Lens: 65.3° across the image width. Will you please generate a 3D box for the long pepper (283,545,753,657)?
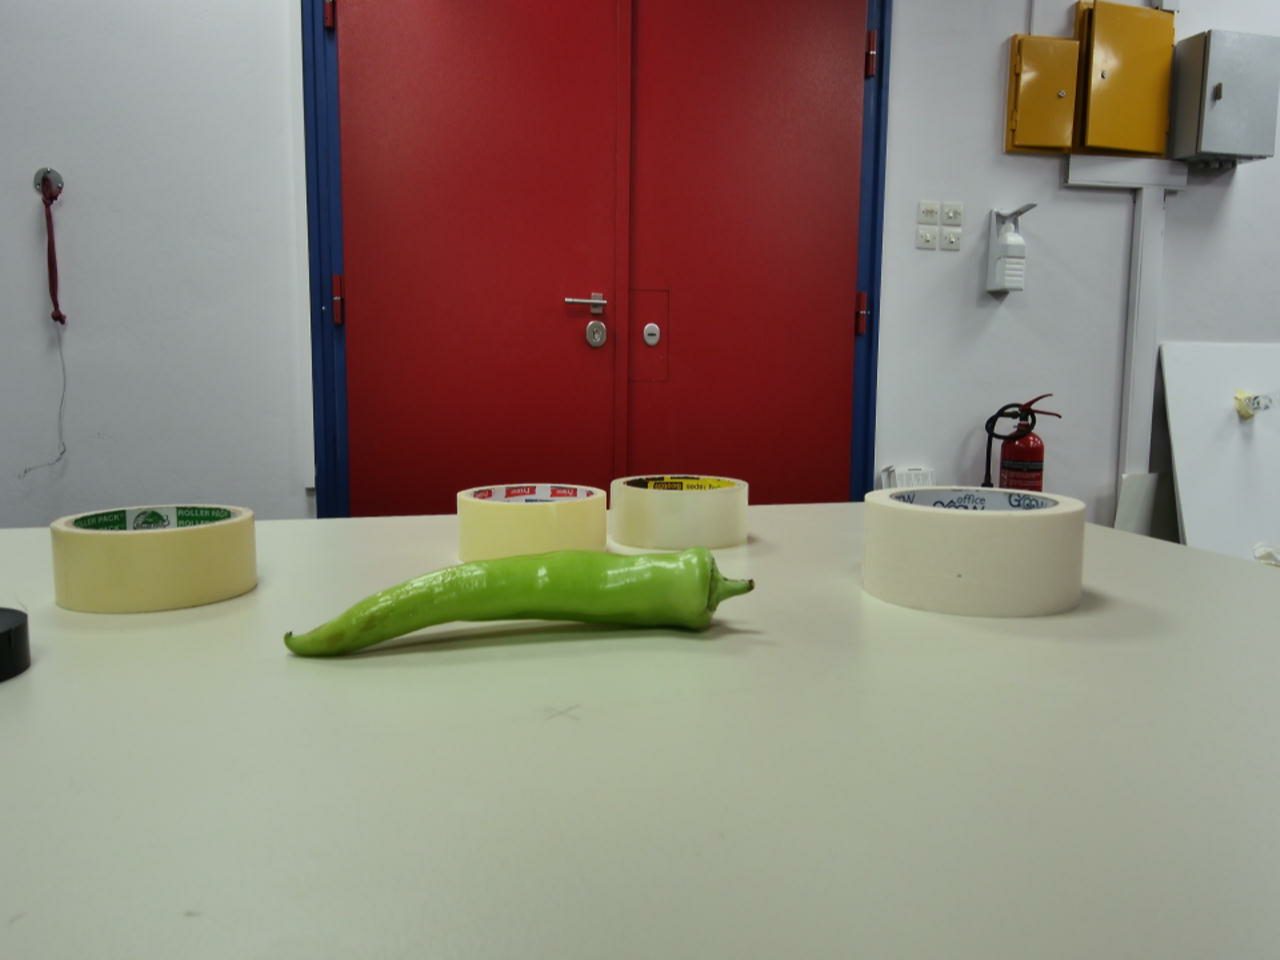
[{"bbox_3d":[-0.049,0.050,0.433,0.197,0.038,0.047,-1,4,-11],"label":"long pepper"}]
